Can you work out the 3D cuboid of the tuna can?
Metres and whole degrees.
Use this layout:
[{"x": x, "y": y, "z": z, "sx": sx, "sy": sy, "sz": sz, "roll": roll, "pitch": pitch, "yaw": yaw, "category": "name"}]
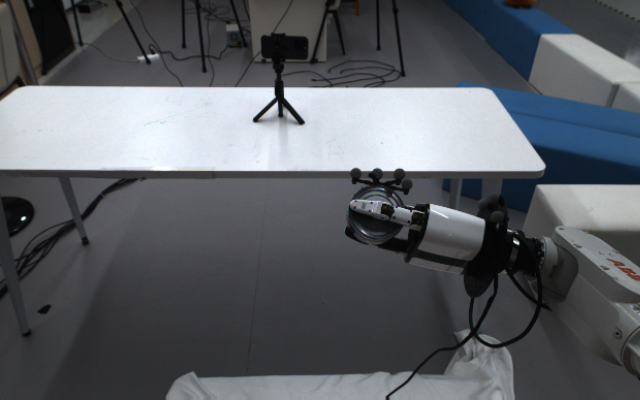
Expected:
[{"x": 0.083, "y": 0.019, "z": 0.722, "sx": 0.085, "sy": 0.034, "sz": 0.085, "roll": 1, "pitch": 73, "yaw": -3, "category": "tuna can"}]
